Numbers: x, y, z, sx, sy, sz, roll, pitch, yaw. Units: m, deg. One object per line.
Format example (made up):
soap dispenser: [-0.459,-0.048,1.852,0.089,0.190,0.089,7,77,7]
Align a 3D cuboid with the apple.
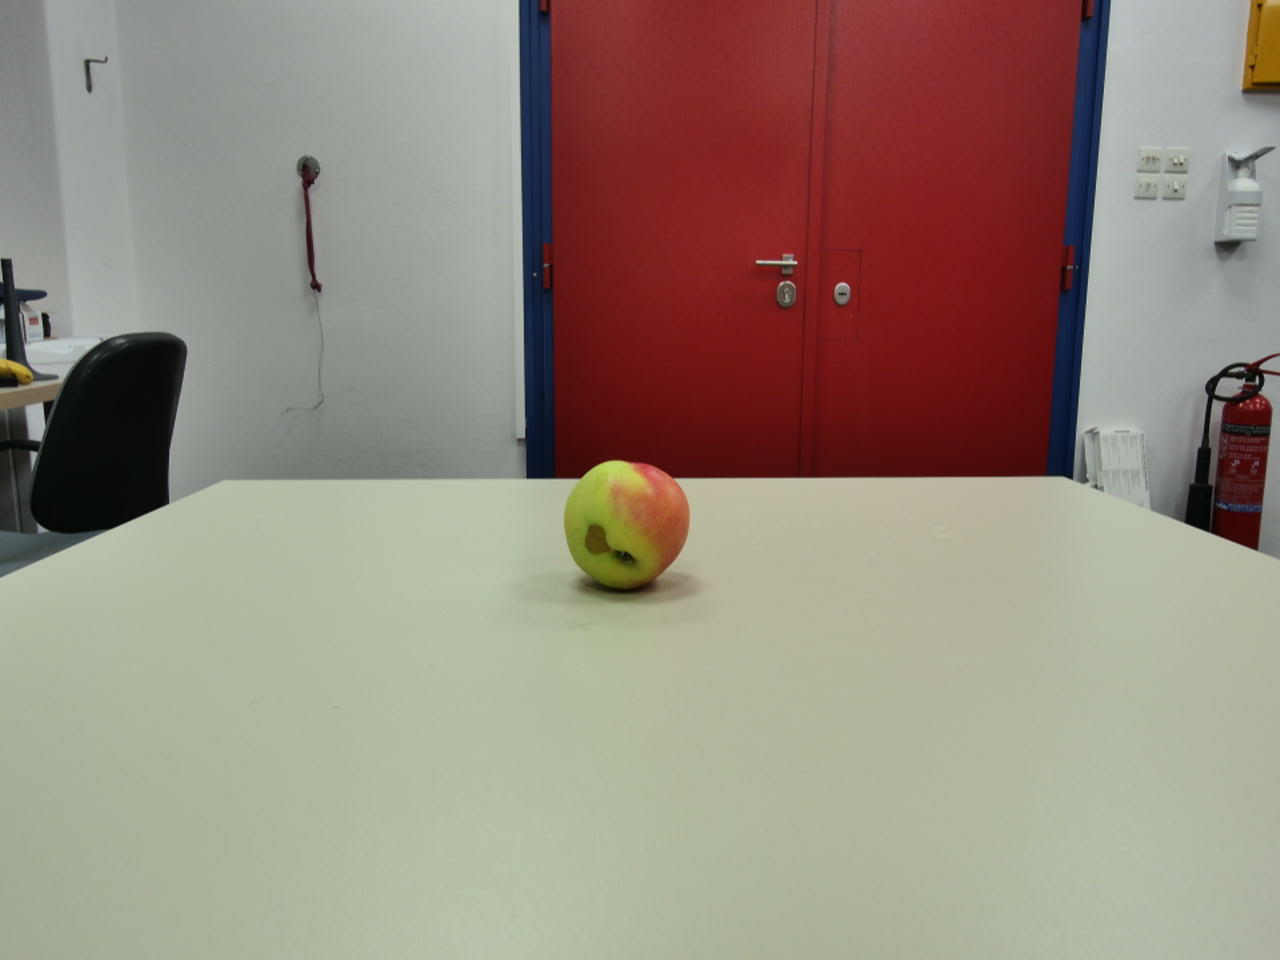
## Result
apple: [-0.007,0.026,0.593,0.075,0.074,0.075,-2,8,-20]
